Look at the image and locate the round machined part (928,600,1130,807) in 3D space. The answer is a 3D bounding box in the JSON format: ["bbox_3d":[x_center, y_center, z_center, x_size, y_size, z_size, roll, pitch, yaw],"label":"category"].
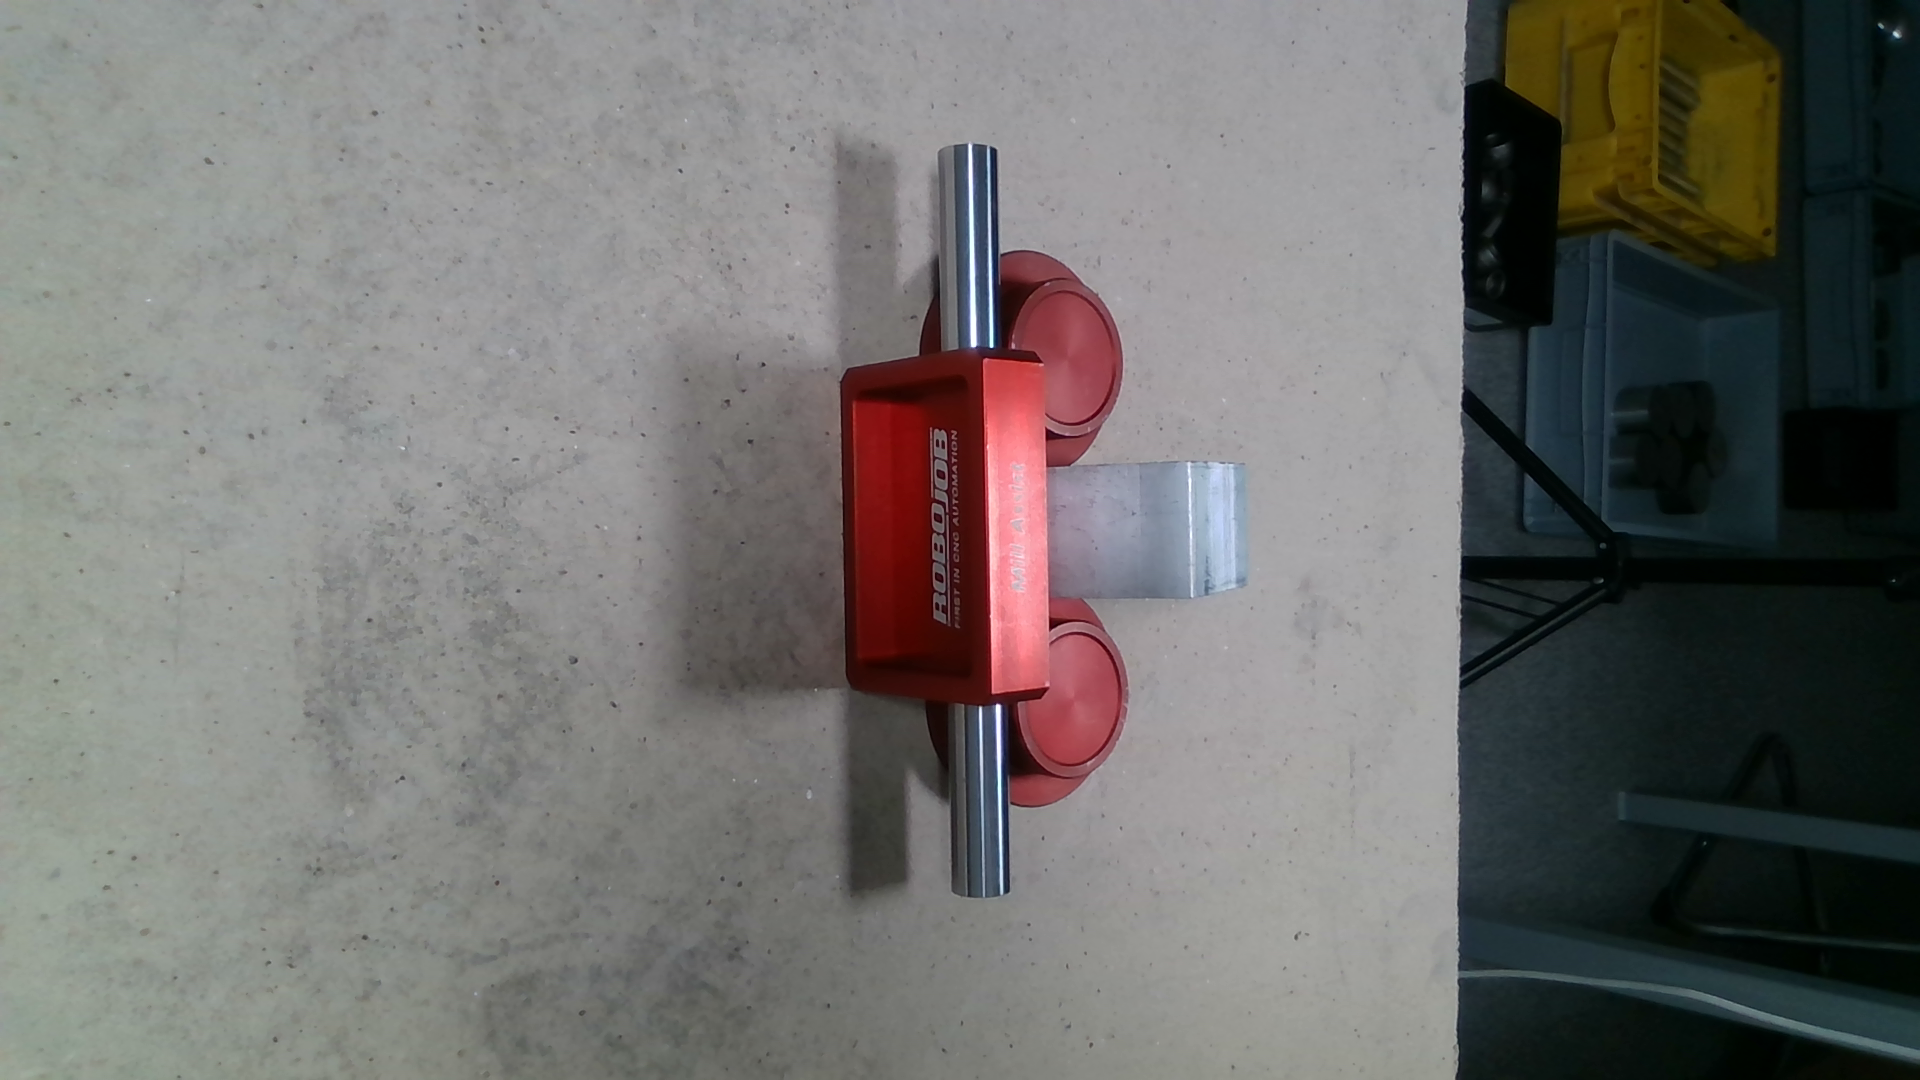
[{"bbox_3d":[0.036,0.068,0.602,0.098,0.042,0.098,0,90,-40],"label":"round machined part"}]

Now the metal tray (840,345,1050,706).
[{"bbox_3d":[-0.008,-0.005,0.534,0.030,0.090,0.130,-2,91,-40],"label":"metal tray"}]

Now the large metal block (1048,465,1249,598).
[{"bbox_3d":[0.070,-0.004,0.571,0.080,0.080,0.050,-5,94,-64],"label":"large metal block"}]

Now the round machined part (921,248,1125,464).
[{"bbox_3d":[0.034,-0.078,0.598,0.098,0.042,0.098,0,90,-40],"label":"round machined part"}]

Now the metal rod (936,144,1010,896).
[{"bbox_3d":[0.005,-0.007,0.561,0.025,0.025,0.300,-2,91,-40],"label":"metal rod"}]
